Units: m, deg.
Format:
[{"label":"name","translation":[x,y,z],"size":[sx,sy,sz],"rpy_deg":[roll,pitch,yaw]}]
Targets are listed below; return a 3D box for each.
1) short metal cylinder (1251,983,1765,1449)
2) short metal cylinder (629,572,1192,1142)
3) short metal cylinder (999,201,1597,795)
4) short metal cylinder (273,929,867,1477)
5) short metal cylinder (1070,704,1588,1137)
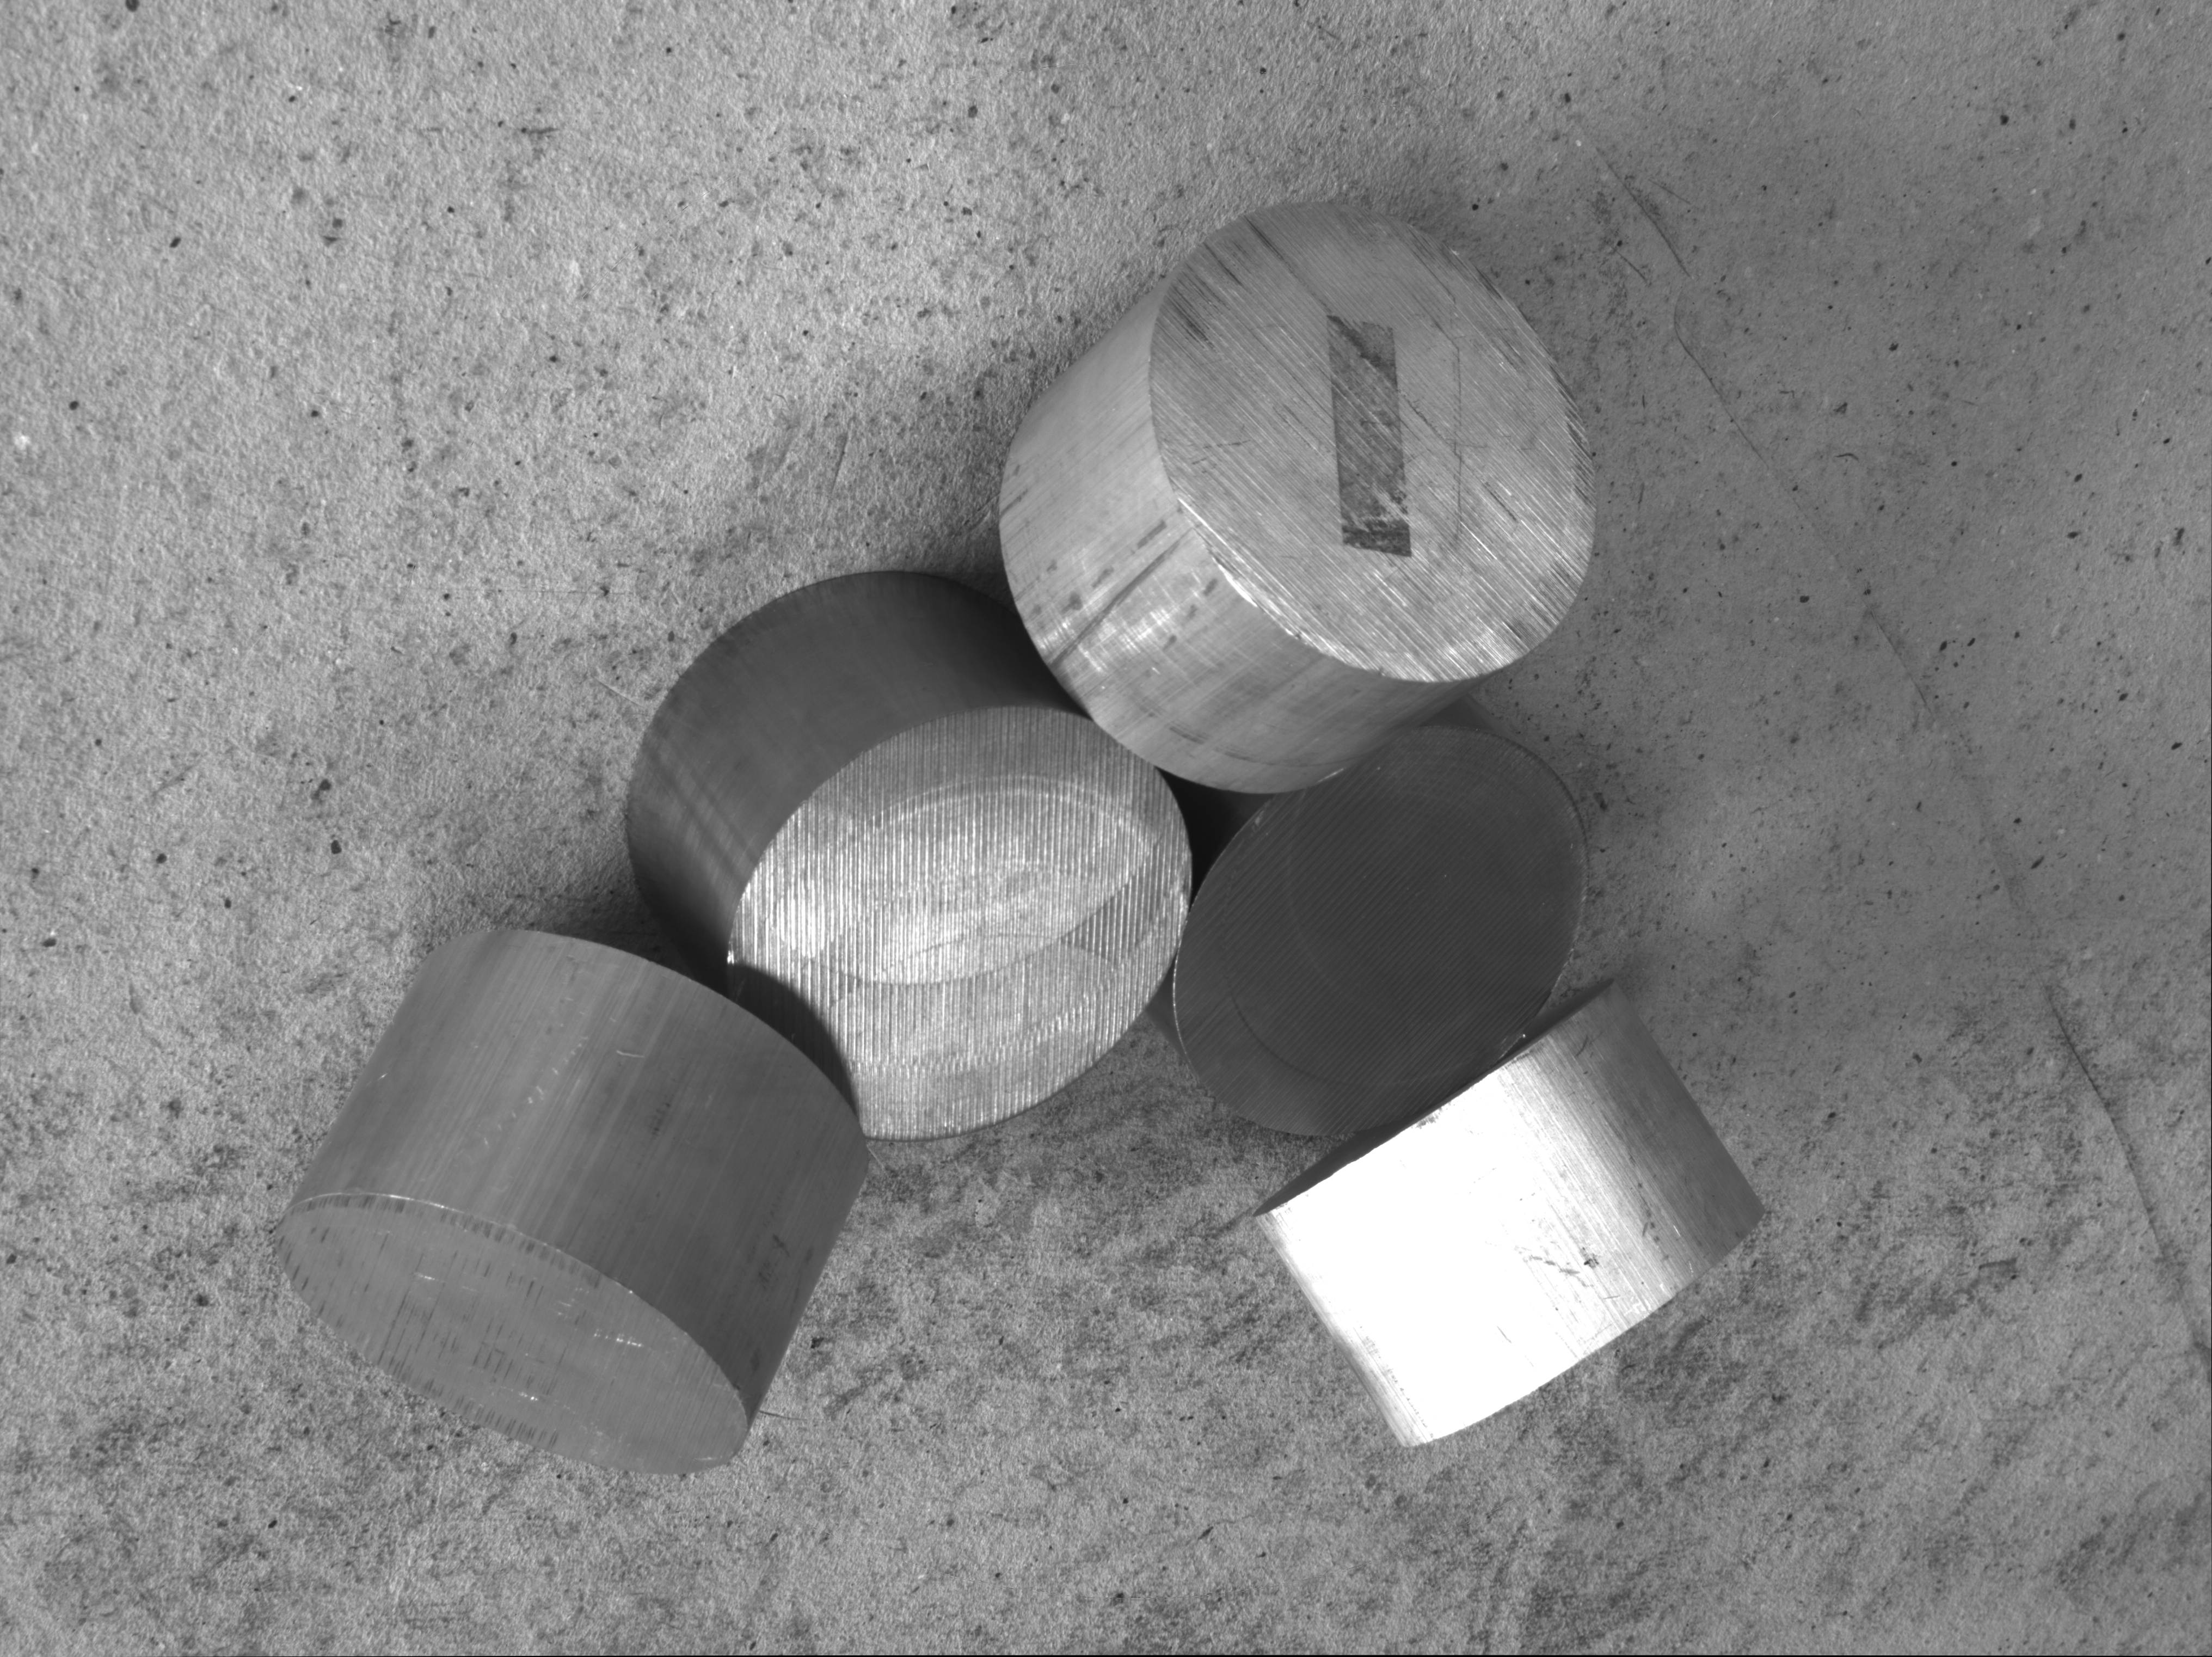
[{"label":"short metal cylinder","translation":[0.074,0.071,0.677],"size":[0.080,0.080,0.050],"rpy_deg":[-32,87,-7]},{"label":"short metal cylinder","translation":[-0.033,0.005,0.606],"size":[0.080,0.050,0.080],"rpy_deg":[-13,123,-21]},{"label":"short metal cylinder","translation":[0.030,-0.051,0.579],"size":[0.080,0.080,0.050],"rpy_deg":[2,160,-29]},{"label":"short metal cylinder","translation":[-0.085,0.061,0.585],"size":[0.080,0.080,0.050],"rpy_deg":[55,46,-39]},{"label":"short metal cylinder","translation":[0.037,0.007,0.645],"size":[0.080,0.050,0.080],"rpy_deg":[-13,123,-21]}]
